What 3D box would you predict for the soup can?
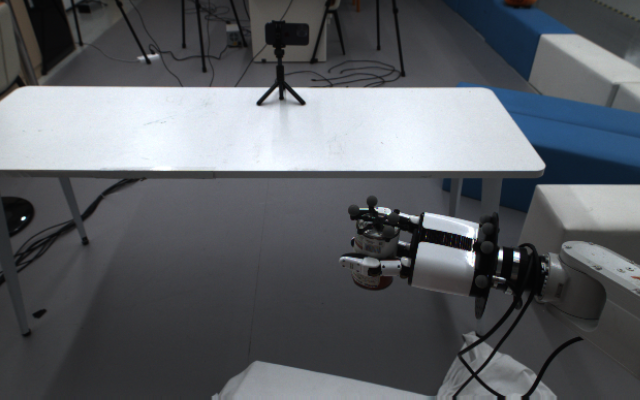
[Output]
[{"bbox_3d":[0.086,0.079,0.744,0.067,0.101,0.067,2,32,-1],"label":"soup can"}]
